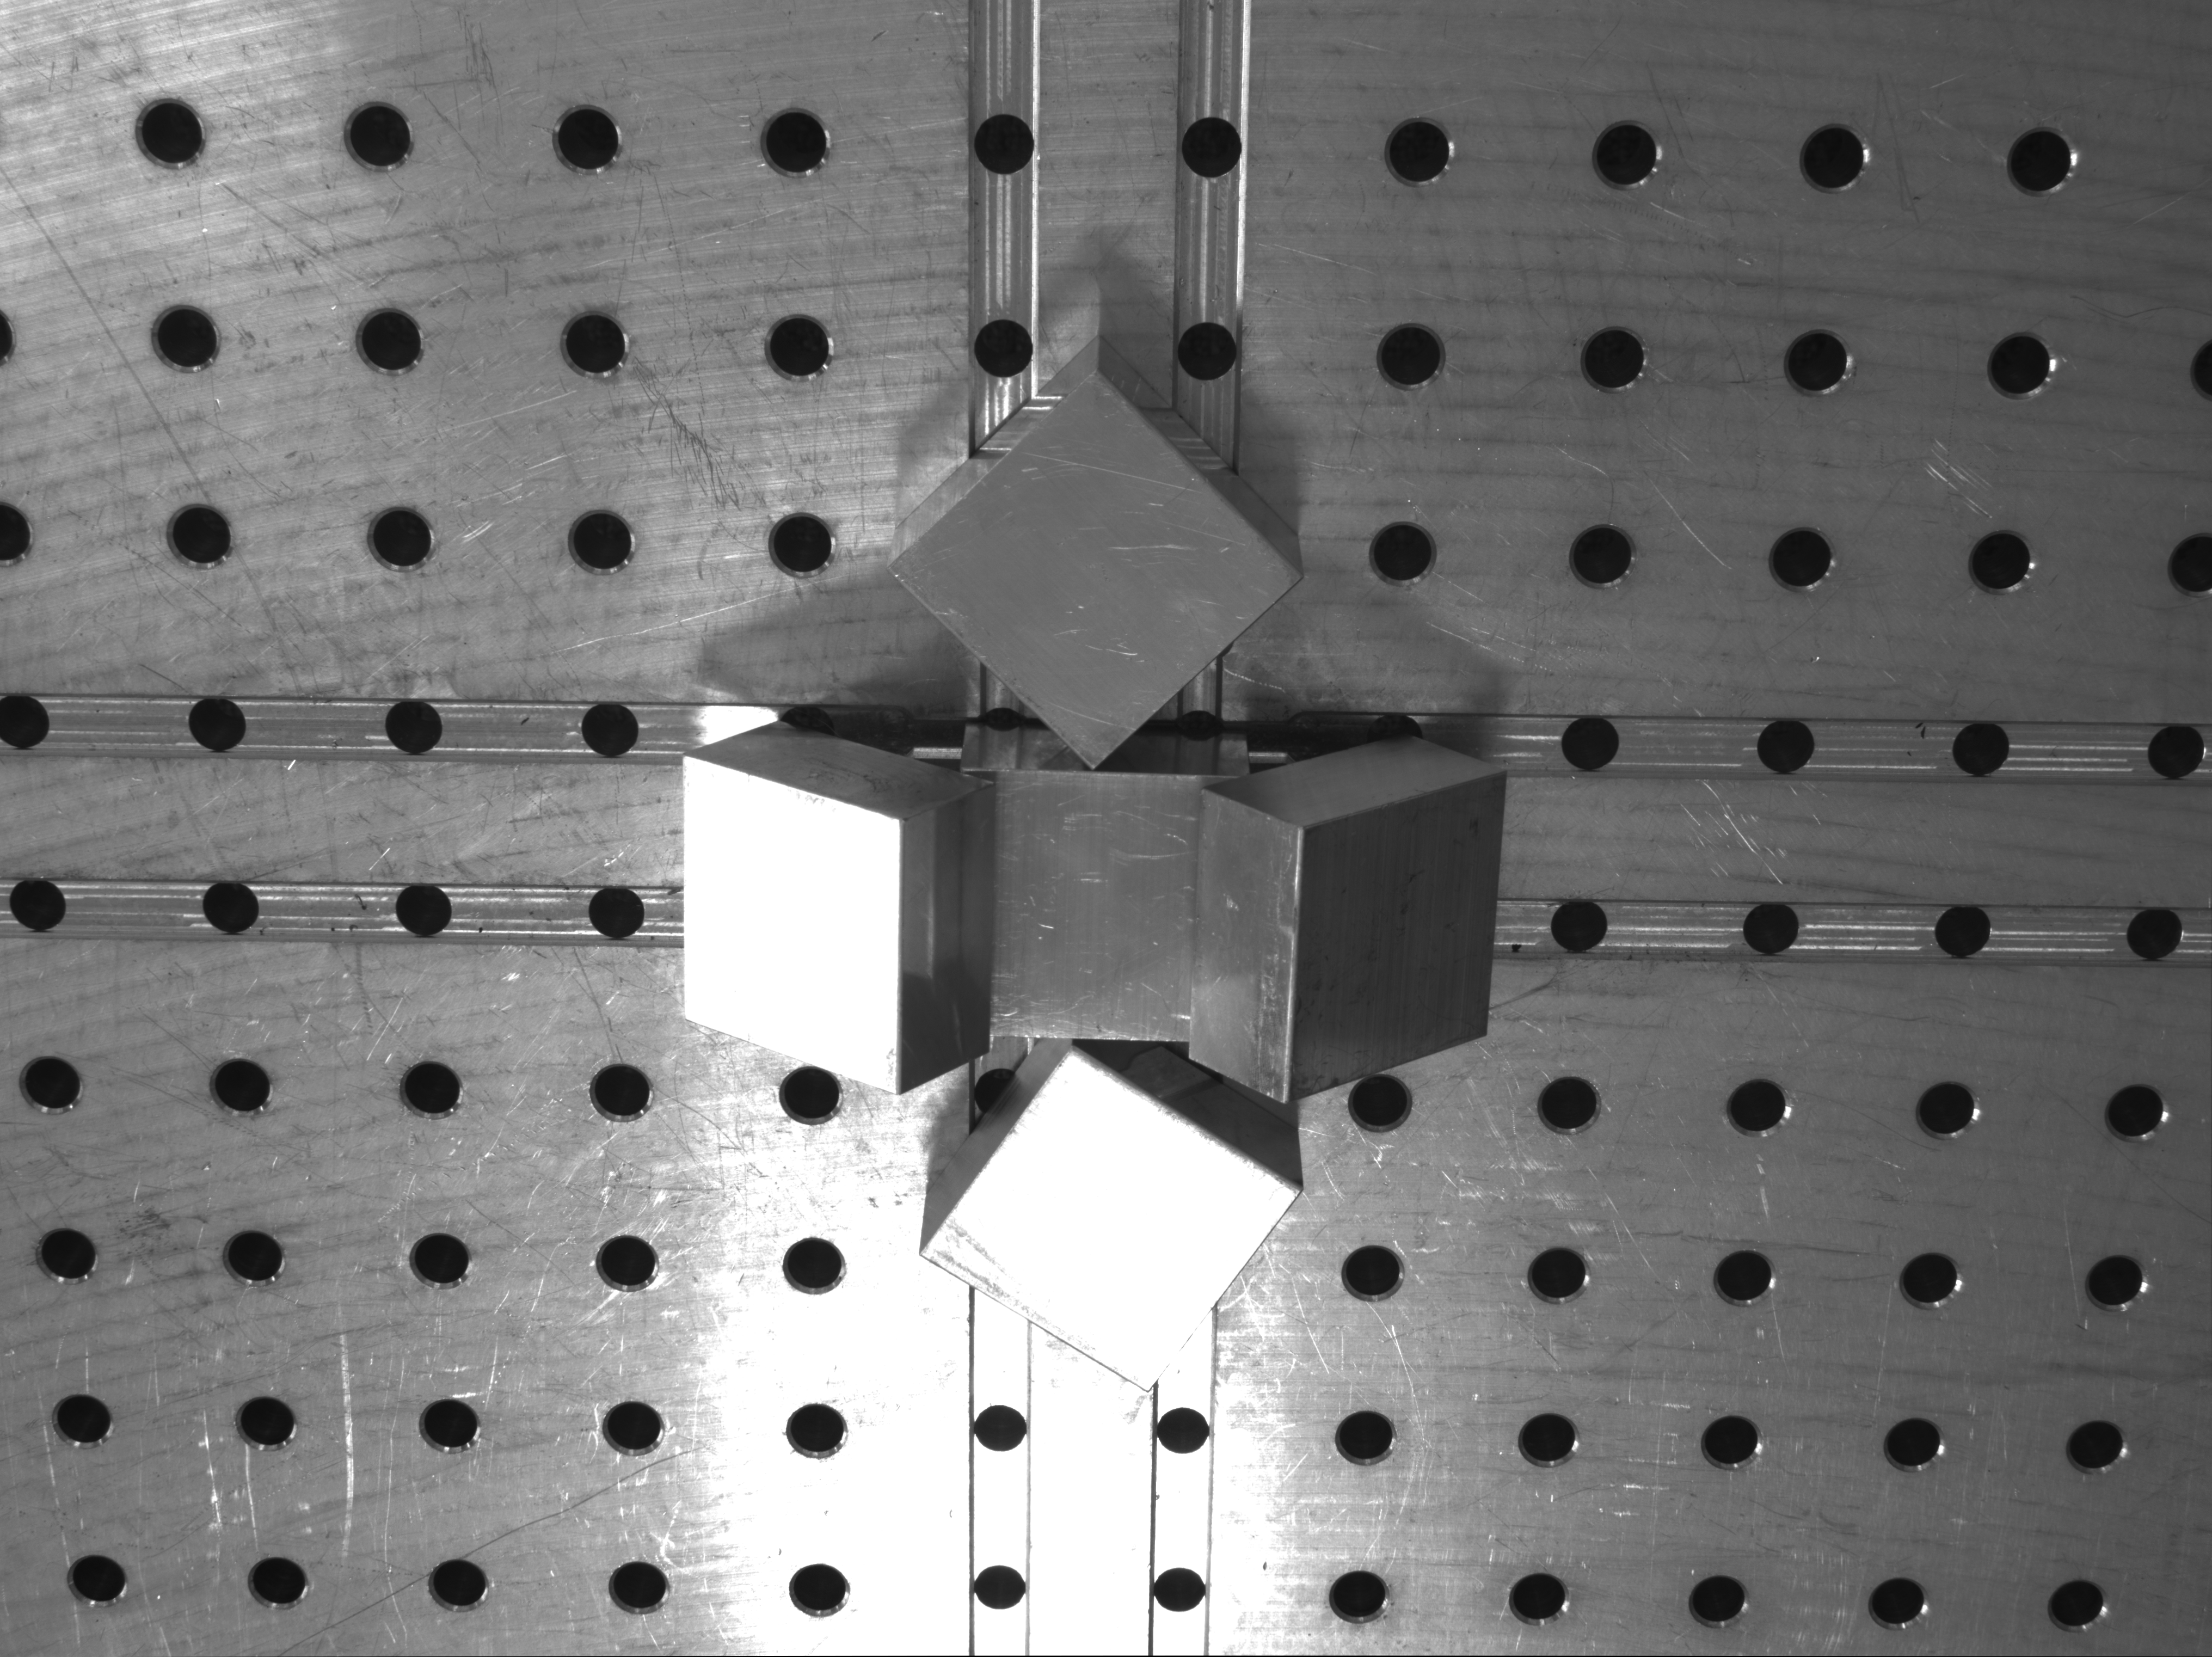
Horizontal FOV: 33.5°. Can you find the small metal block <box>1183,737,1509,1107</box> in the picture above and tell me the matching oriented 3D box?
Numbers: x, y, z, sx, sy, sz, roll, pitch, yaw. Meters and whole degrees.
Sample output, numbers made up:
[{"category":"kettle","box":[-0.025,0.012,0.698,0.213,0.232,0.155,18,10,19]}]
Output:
[{"category":"small metal block","box":[0.042,0.015,0.638,0.050,0.025,0.050,-14,116,-38]}]

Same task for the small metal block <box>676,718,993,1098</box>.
[{"category":"small metal block","box":[-0.048,0.013,0.638,0.050,0.025,0.050,17,115,33]}]

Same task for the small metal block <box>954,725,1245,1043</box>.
[{"category":"small metal block","box":[-0.002,0.010,0.650,0.050,0.025,0.050,1,109,-1]}]

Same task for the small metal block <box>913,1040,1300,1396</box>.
[{"category":"small metal block","box":[0.000,0.067,0.670,0.050,0.025,0.050,33,107,-10]}]

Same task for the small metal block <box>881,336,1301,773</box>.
[{"category":"small metal block","box":[-0.002,-0.047,0.630,0.050,0.025,0.050,-42,104,13]}]
